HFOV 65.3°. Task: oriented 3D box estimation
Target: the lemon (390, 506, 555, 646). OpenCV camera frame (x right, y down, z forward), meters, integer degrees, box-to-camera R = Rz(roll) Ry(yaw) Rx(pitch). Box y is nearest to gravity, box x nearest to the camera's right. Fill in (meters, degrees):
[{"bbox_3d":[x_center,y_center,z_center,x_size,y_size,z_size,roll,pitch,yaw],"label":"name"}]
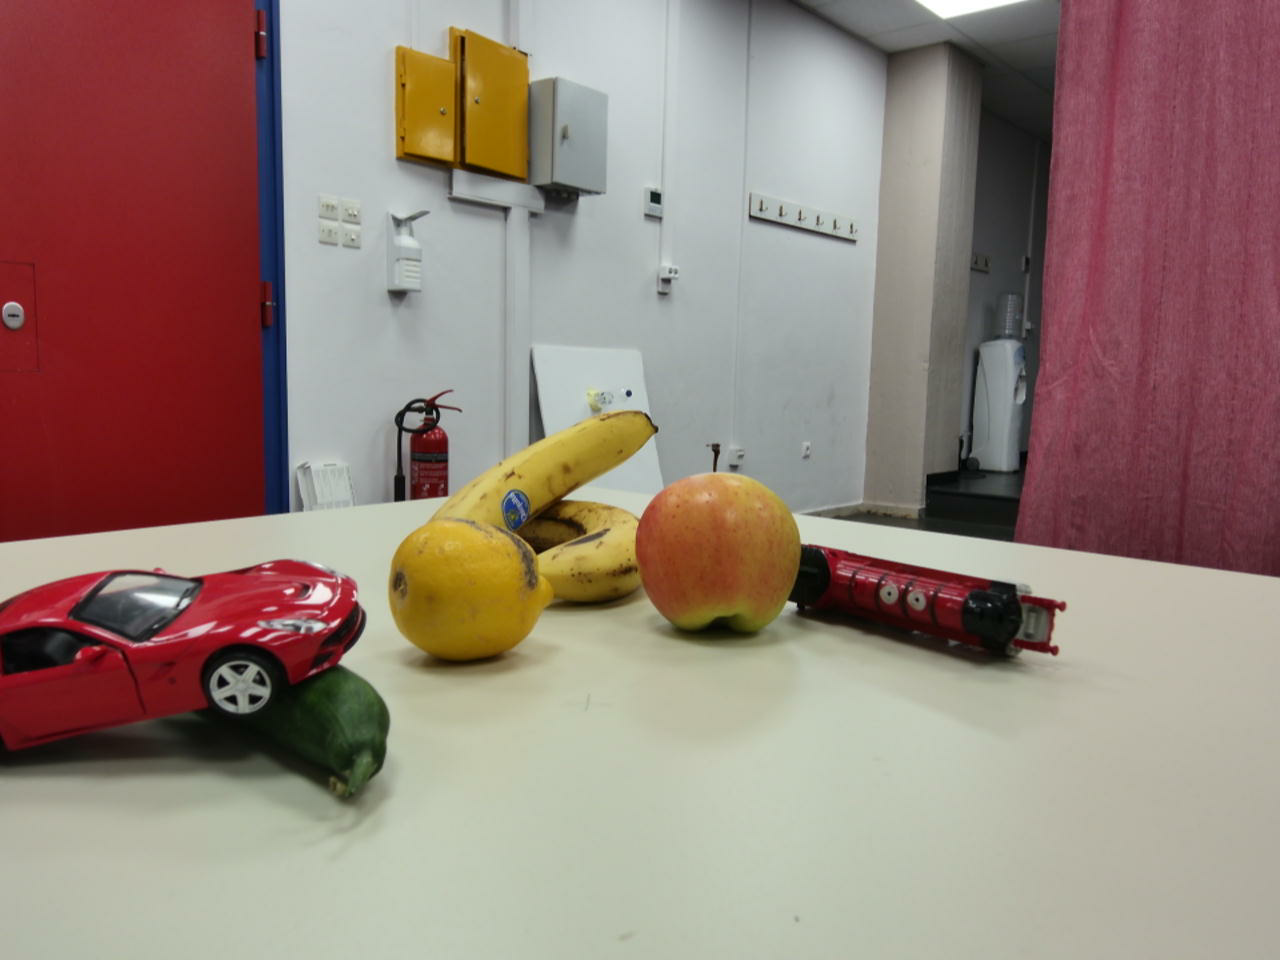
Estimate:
[{"bbox_3d":[-0.070,0.038,0.403,0.058,0.056,0.061,4,6,32],"label":"lemon"}]
